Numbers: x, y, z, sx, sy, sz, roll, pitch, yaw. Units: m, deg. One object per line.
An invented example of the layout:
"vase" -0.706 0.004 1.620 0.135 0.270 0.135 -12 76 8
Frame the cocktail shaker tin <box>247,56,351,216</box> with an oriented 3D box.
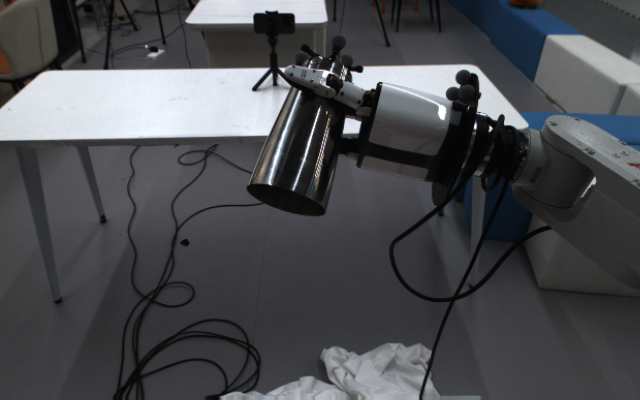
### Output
"cocktail shaker tin" -0.014 -0.079 0.564 0.093 0.093 0.170 12 72 14
